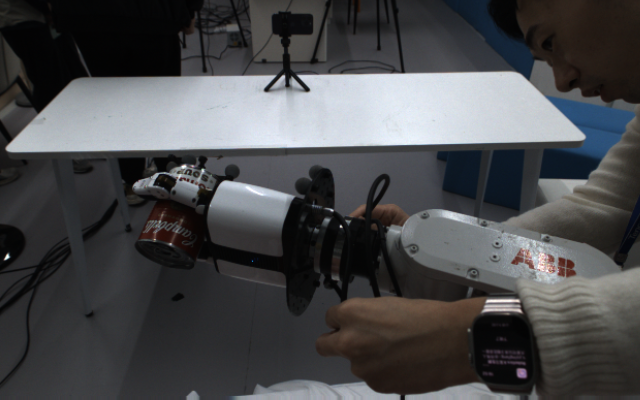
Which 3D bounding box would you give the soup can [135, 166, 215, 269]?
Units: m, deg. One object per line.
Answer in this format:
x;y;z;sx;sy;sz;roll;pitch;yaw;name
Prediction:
-0.155;0.019;0.546;0.067;0.067;0.101;9;58;10;soup can
